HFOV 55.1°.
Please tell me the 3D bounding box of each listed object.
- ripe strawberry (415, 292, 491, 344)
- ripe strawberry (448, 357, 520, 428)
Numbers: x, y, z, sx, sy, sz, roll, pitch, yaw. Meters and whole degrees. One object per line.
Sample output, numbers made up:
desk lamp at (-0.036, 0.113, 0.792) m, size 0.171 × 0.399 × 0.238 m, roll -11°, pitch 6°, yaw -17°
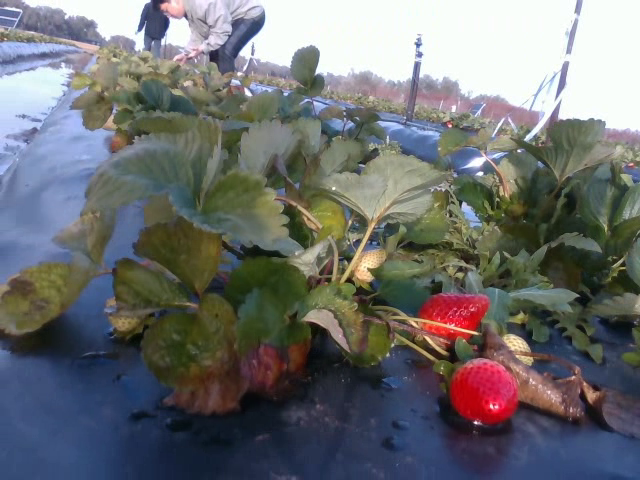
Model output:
ripe strawberry at (0.081, 0.041, 0.367) m, size 0.048 × 0.032 × 0.039 m, roll -38°, pitch -3°, yaw 29°
ripe strawberry at (0.077, 0.071, 0.282) m, size 0.035 × 0.030 × 0.043 m, roll 2°, pitch 13°, yaw 1°
